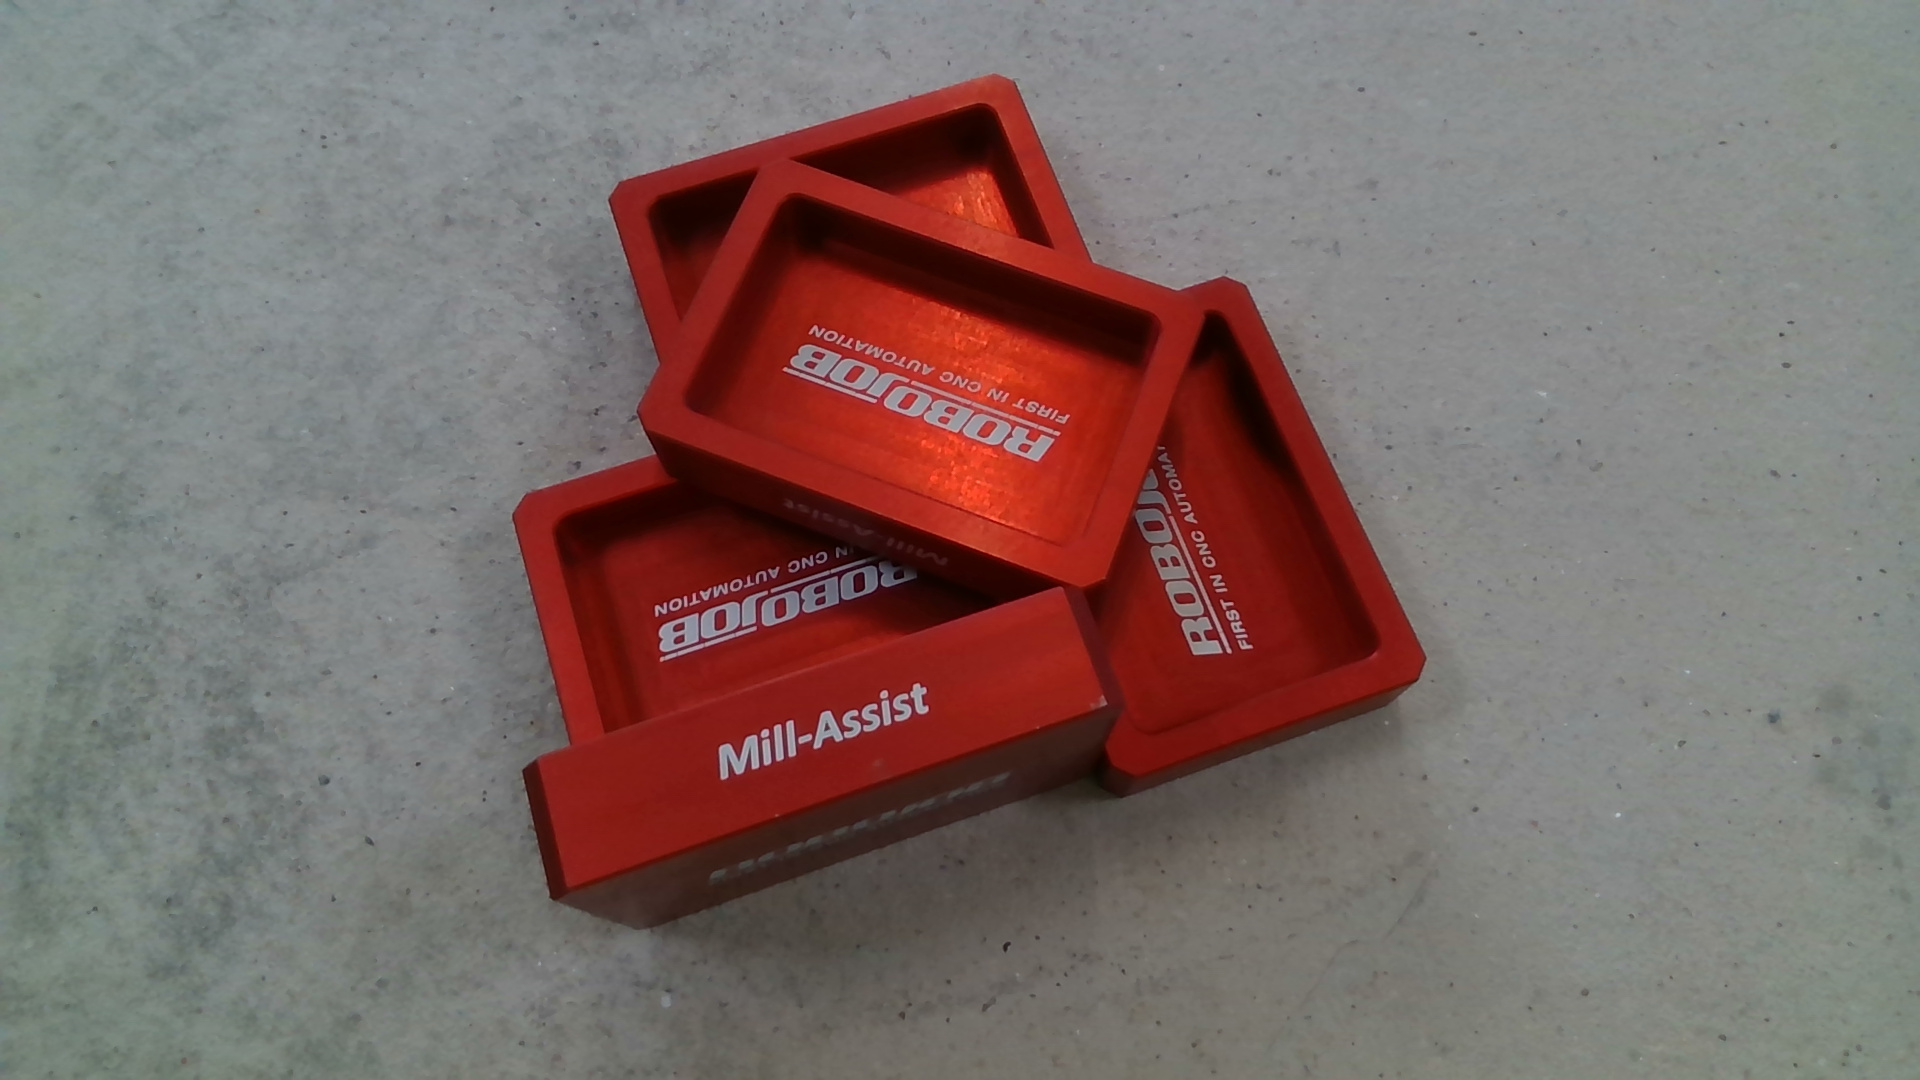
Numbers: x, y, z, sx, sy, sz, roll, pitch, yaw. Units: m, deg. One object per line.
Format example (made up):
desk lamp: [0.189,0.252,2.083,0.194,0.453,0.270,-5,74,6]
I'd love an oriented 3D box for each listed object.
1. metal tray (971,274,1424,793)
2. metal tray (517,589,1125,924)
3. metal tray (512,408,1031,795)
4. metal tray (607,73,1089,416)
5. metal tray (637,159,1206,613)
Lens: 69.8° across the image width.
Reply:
metal tray: [0.062,-0.004,0.395,0.090,0.030,0.130,-18,71,-6]
metal tray: [-0.030,0.057,0.338,0.130,0.090,0.030,-17,71,-6]
metal tray: [-0.049,0.012,0.387,0.130,0.030,0.090,-19,70,-5]
metal tray: [-0.032,-0.083,0.421,0.130,0.030,0.090,-18,71,-7]
metal tray: [-0.009,-0.042,0.377,0.130,0.030,0.090,20,71,8]
